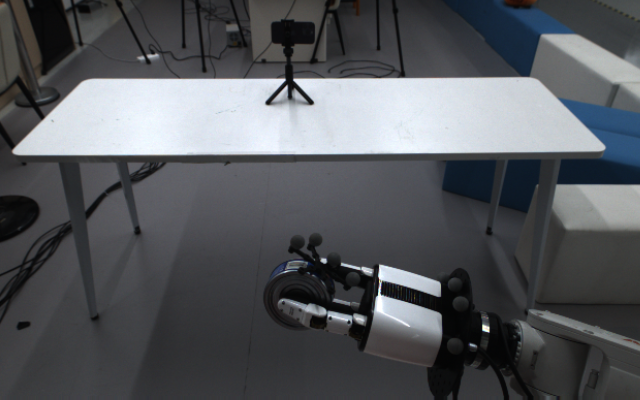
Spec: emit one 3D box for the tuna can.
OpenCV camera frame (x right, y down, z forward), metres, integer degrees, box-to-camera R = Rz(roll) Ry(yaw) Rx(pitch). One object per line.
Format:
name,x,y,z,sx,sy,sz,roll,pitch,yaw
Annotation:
tuna can,-0.022,0.123,0.592,0.085,0.085,0.034,7,19,7
